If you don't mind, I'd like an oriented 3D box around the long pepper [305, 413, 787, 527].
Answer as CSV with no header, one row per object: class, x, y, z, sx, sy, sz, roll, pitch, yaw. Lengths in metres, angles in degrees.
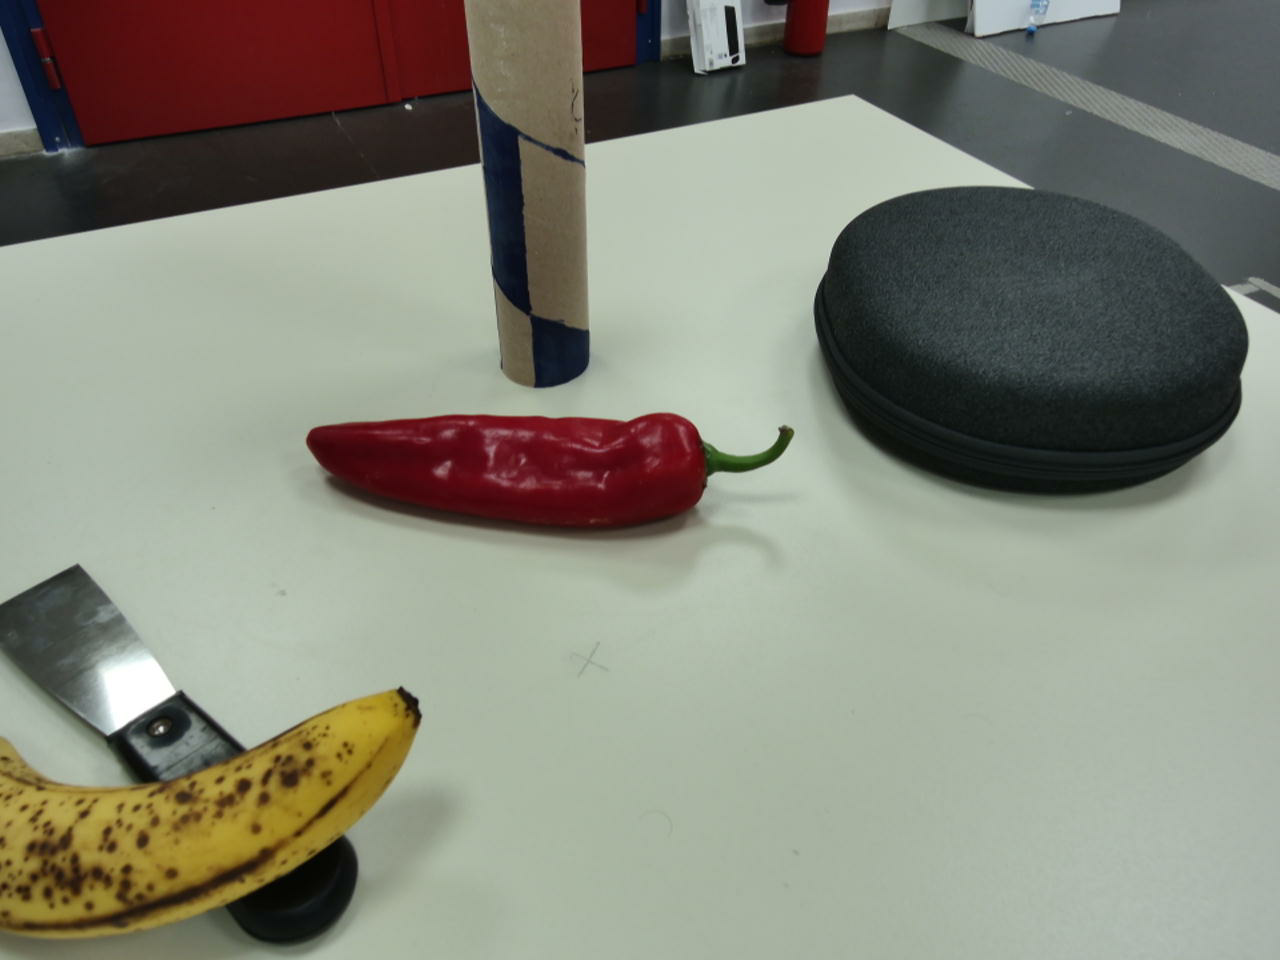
long pepper,-0.044,-0.008,0.430,0.211,0.043,0.050,4,38,4
